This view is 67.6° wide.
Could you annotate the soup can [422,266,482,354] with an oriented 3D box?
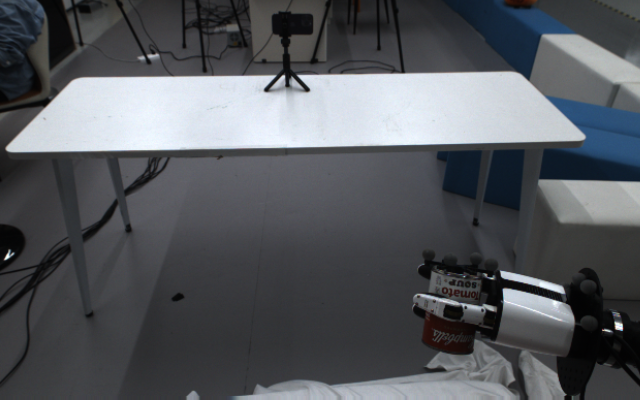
[{"bbox_3d":[0.176,0.143,0.640,0.067,0.101,0.067,7,3,0],"label":"soup can"}]
